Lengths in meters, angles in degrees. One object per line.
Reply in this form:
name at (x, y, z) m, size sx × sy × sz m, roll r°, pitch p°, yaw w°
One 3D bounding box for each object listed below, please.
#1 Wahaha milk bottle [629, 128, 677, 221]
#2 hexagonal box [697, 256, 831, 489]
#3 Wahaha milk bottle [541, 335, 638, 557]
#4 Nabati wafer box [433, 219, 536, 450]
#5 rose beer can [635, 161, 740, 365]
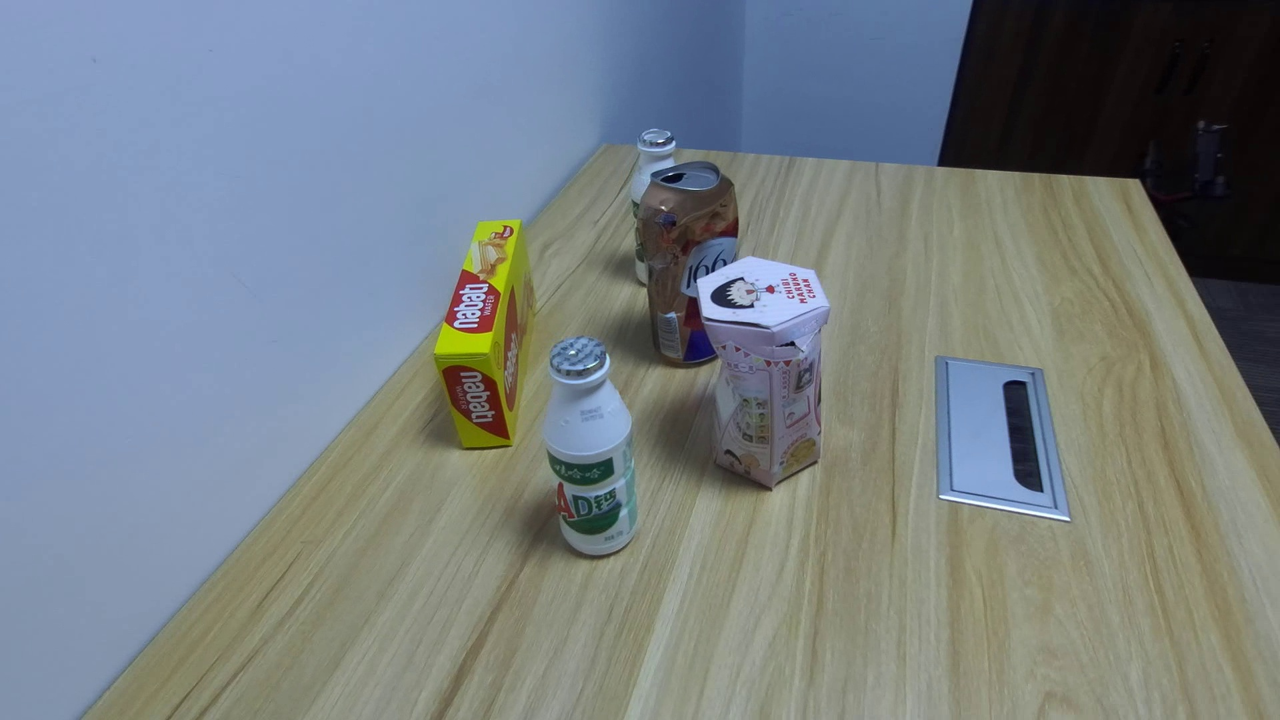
Wahaha milk bottle at (0.019, -0.142, 0.668) m, size 0.056 × 0.148 × 0.056 m, roll -2°, pitch 38°, yaw 2°
hexagonal box at (0.081, 0.011, 0.480) m, size 0.089 × 0.135 × 0.091 m, roll 22°, pitch 45°, yaw 35°
Wahaha milk bottle at (-0.030, 0.054, 0.424) m, size 0.053 × 0.147 × 0.053 m, roll -2°, pitch 37°, yaw 1°
Nabati wafer box at (-0.120, -0.030, 0.587) m, size 0.042 × 0.093 × 0.202 m, roll -4°, pitch 38°, yaw 1°
rose beer can at (0.042, -0.075, 0.571) m, size 0.068 × 0.162 × 0.074 m, roll 9°, pitch 42°, yaw 18°
